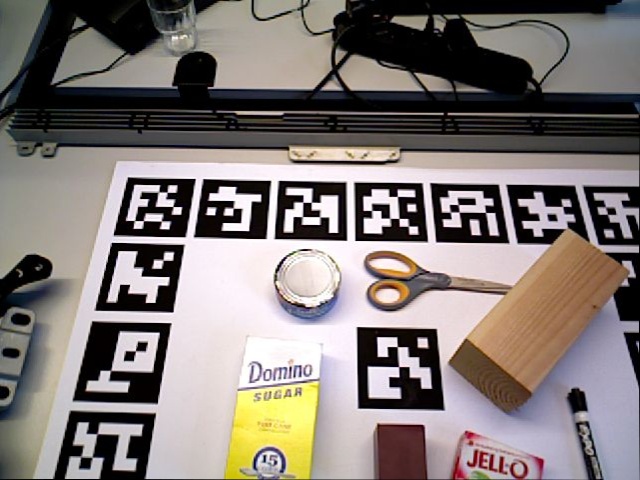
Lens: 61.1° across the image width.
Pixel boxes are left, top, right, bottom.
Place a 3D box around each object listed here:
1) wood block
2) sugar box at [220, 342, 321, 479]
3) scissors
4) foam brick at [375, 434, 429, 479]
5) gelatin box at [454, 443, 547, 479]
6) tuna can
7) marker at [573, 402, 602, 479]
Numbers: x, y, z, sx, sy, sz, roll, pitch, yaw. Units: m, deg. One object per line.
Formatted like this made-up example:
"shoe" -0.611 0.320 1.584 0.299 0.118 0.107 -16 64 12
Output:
"wood block" 0.266 0.108 0.640 0.203 0.092 0.090 -40 66 -20
"sugar box" -0.053 0.207 0.614 0.092 0.046 0.174 6 61 3
"scissors" 0.152 0.068 0.704 0.202 0.016 0.086 7 61 8
"foam brick" 0.086 0.251 0.577 0.052 0.052 0.077 3 61 3
"gelatin box" 0.189 0.270 0.582 0.089 0.031 0.072 18 63 11
"tuna can" -0.021 0.063 0.696 0.085 0.034 0.084 -1 61 1
"marker" 0.299 0.241 0.600 0.019 0.020 0.119 3 63 2
